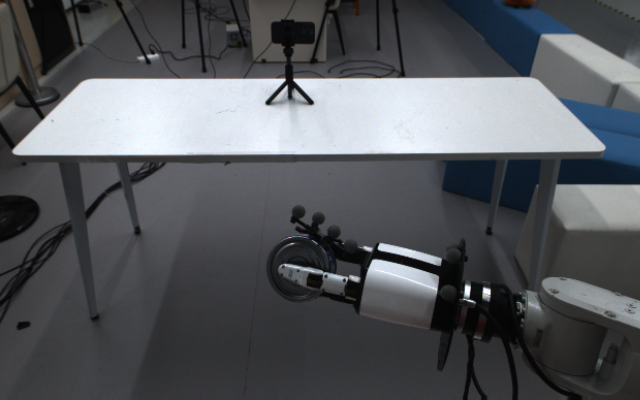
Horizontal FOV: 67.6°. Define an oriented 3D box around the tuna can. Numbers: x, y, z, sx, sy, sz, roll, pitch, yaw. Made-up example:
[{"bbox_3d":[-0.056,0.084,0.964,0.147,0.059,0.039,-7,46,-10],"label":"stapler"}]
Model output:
[{"bbox_3d":[-0.020,0.092,0.614,0.085,0.085,0.034,13,4,15],"label":"tuna can"}]
